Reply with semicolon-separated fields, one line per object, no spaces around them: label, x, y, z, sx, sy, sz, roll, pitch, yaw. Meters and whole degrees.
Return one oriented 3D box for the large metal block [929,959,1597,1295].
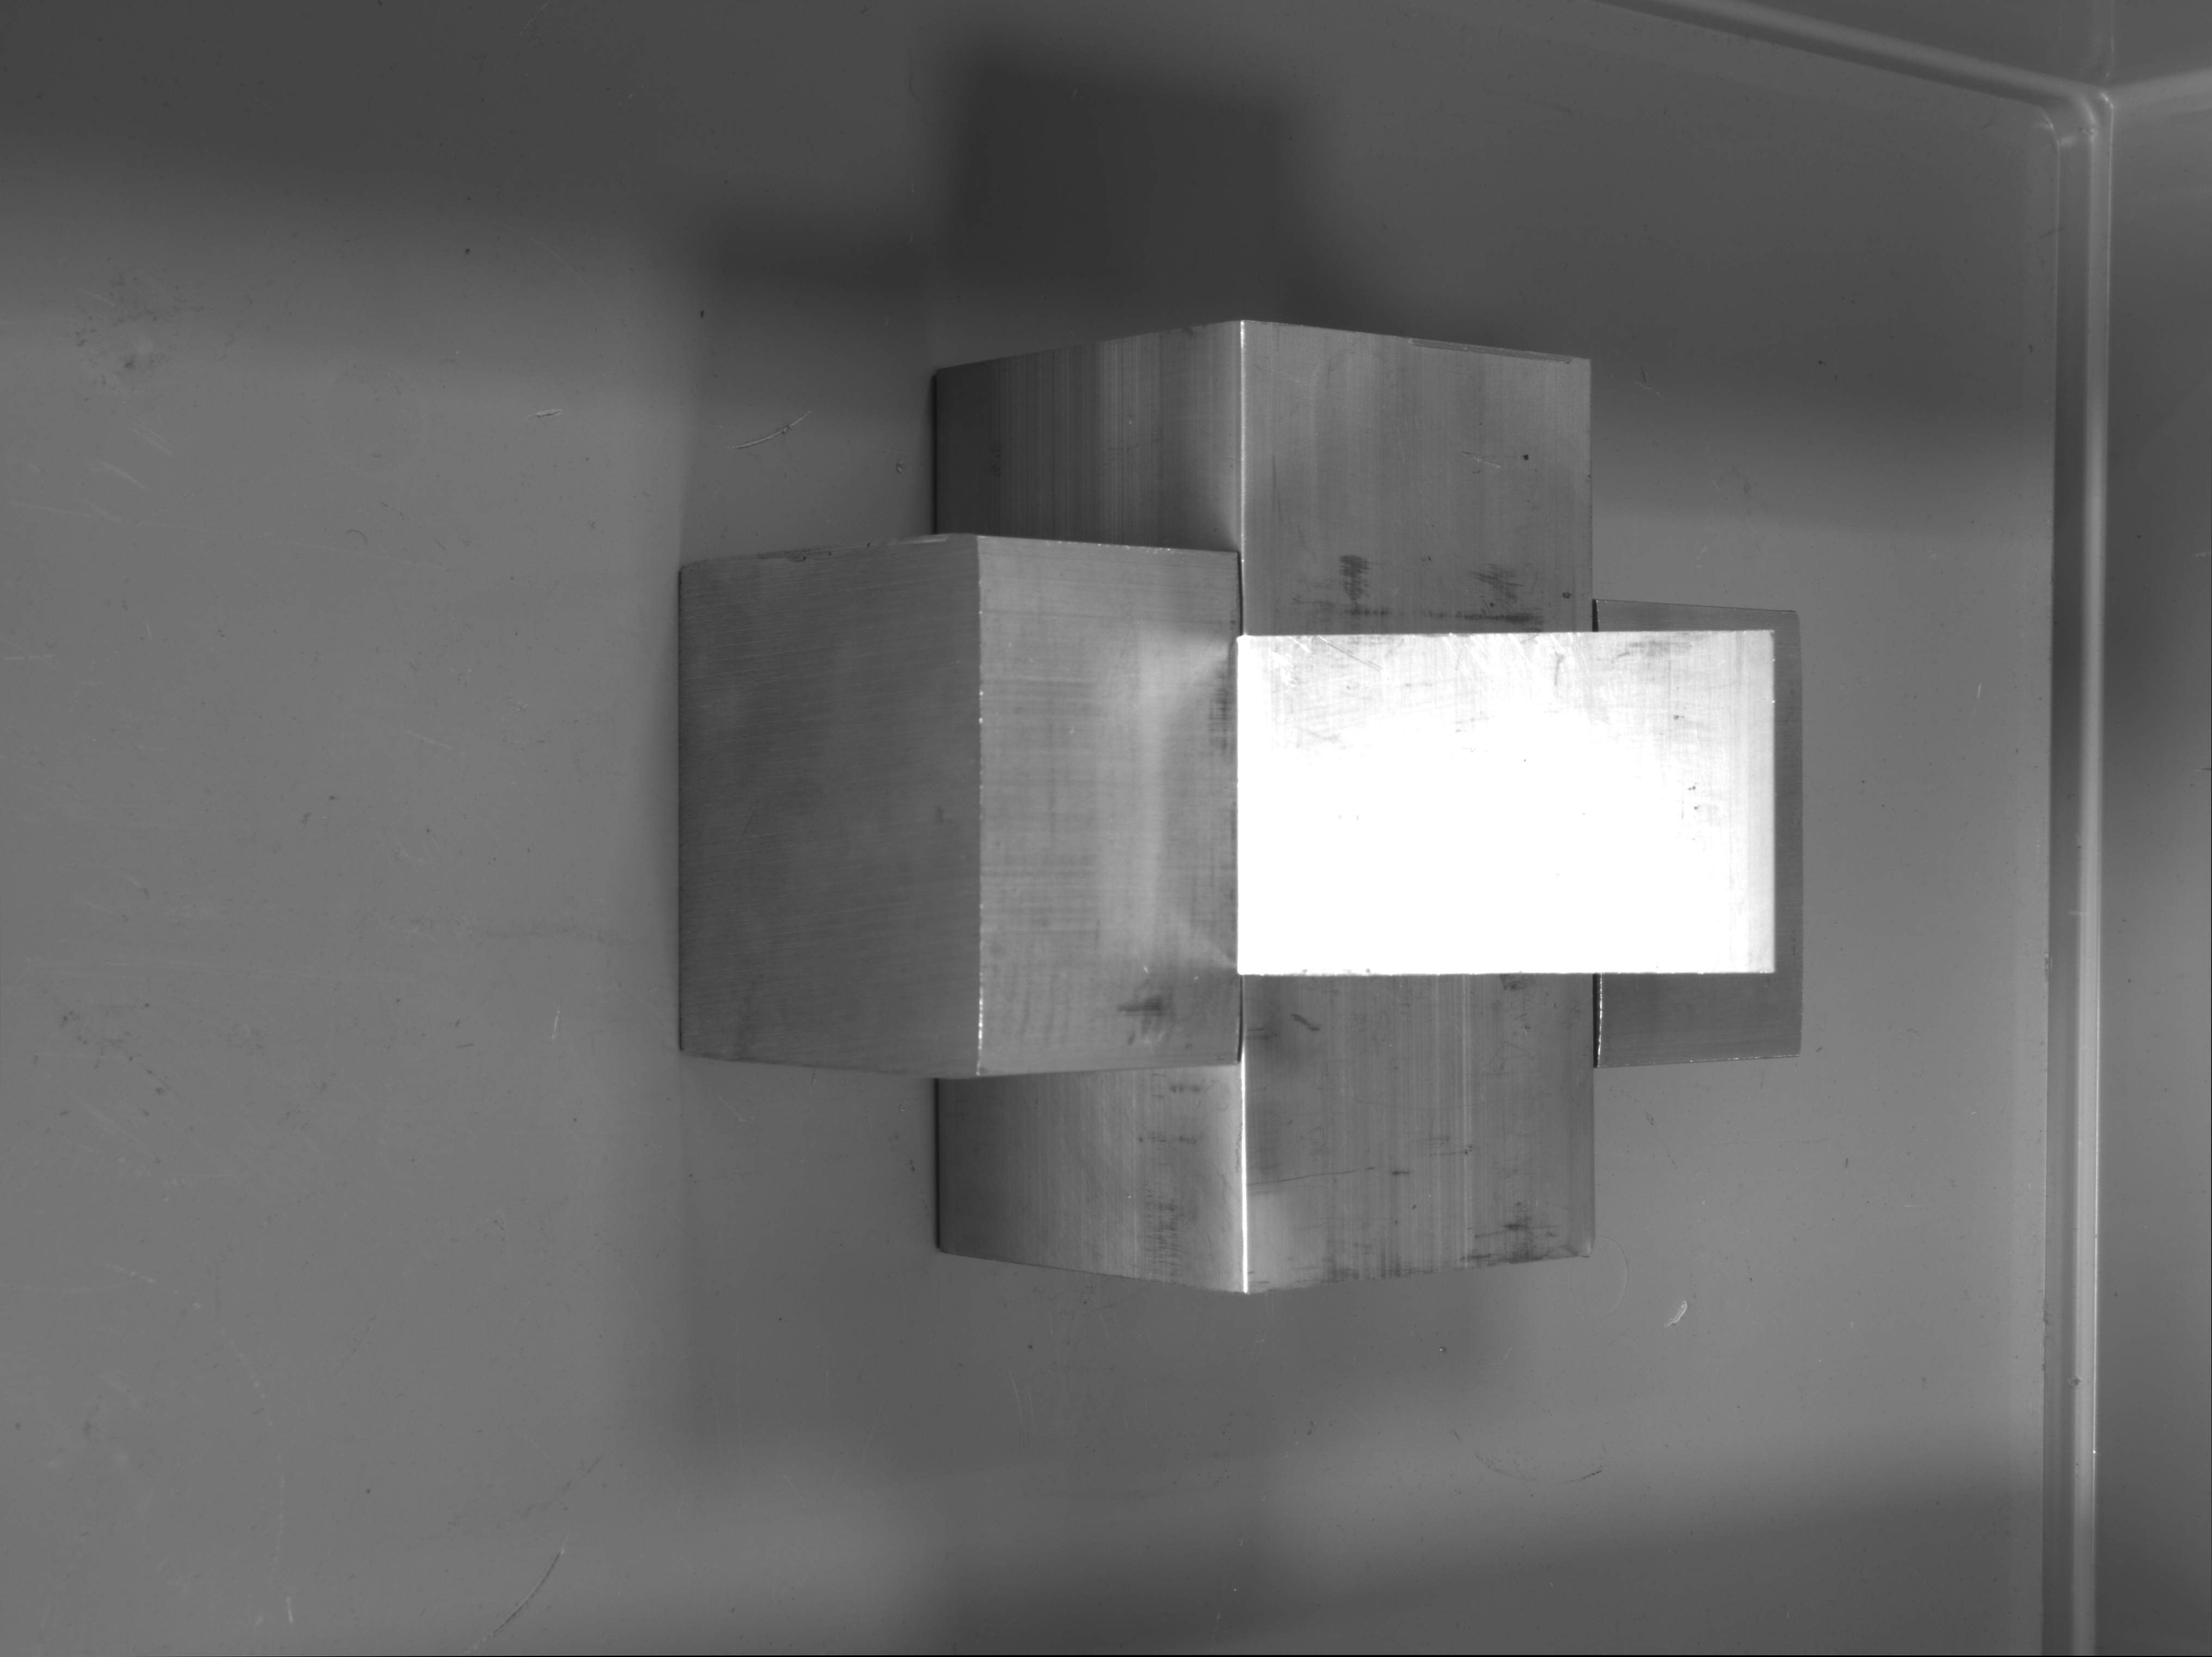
large metal block;0.026;0.047;0.621;0.080;0.080;0.050;0;90;-40

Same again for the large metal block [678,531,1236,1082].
large metal block;-0.025;-0.003;0.579;0.050;0.080;0.080;0;90;-40

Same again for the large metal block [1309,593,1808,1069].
large metal block;0.079;0.000;0.662;0.050;0.080;0.080;0;90;-40

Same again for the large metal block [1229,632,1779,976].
large metal block;0.062;-0.003;0.577;0.080;0.080;0.050;0;89;-85

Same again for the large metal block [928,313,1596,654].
large metal block;0.026;-0.054;0.621;0.080;0.080;0.050;0;90;-40
